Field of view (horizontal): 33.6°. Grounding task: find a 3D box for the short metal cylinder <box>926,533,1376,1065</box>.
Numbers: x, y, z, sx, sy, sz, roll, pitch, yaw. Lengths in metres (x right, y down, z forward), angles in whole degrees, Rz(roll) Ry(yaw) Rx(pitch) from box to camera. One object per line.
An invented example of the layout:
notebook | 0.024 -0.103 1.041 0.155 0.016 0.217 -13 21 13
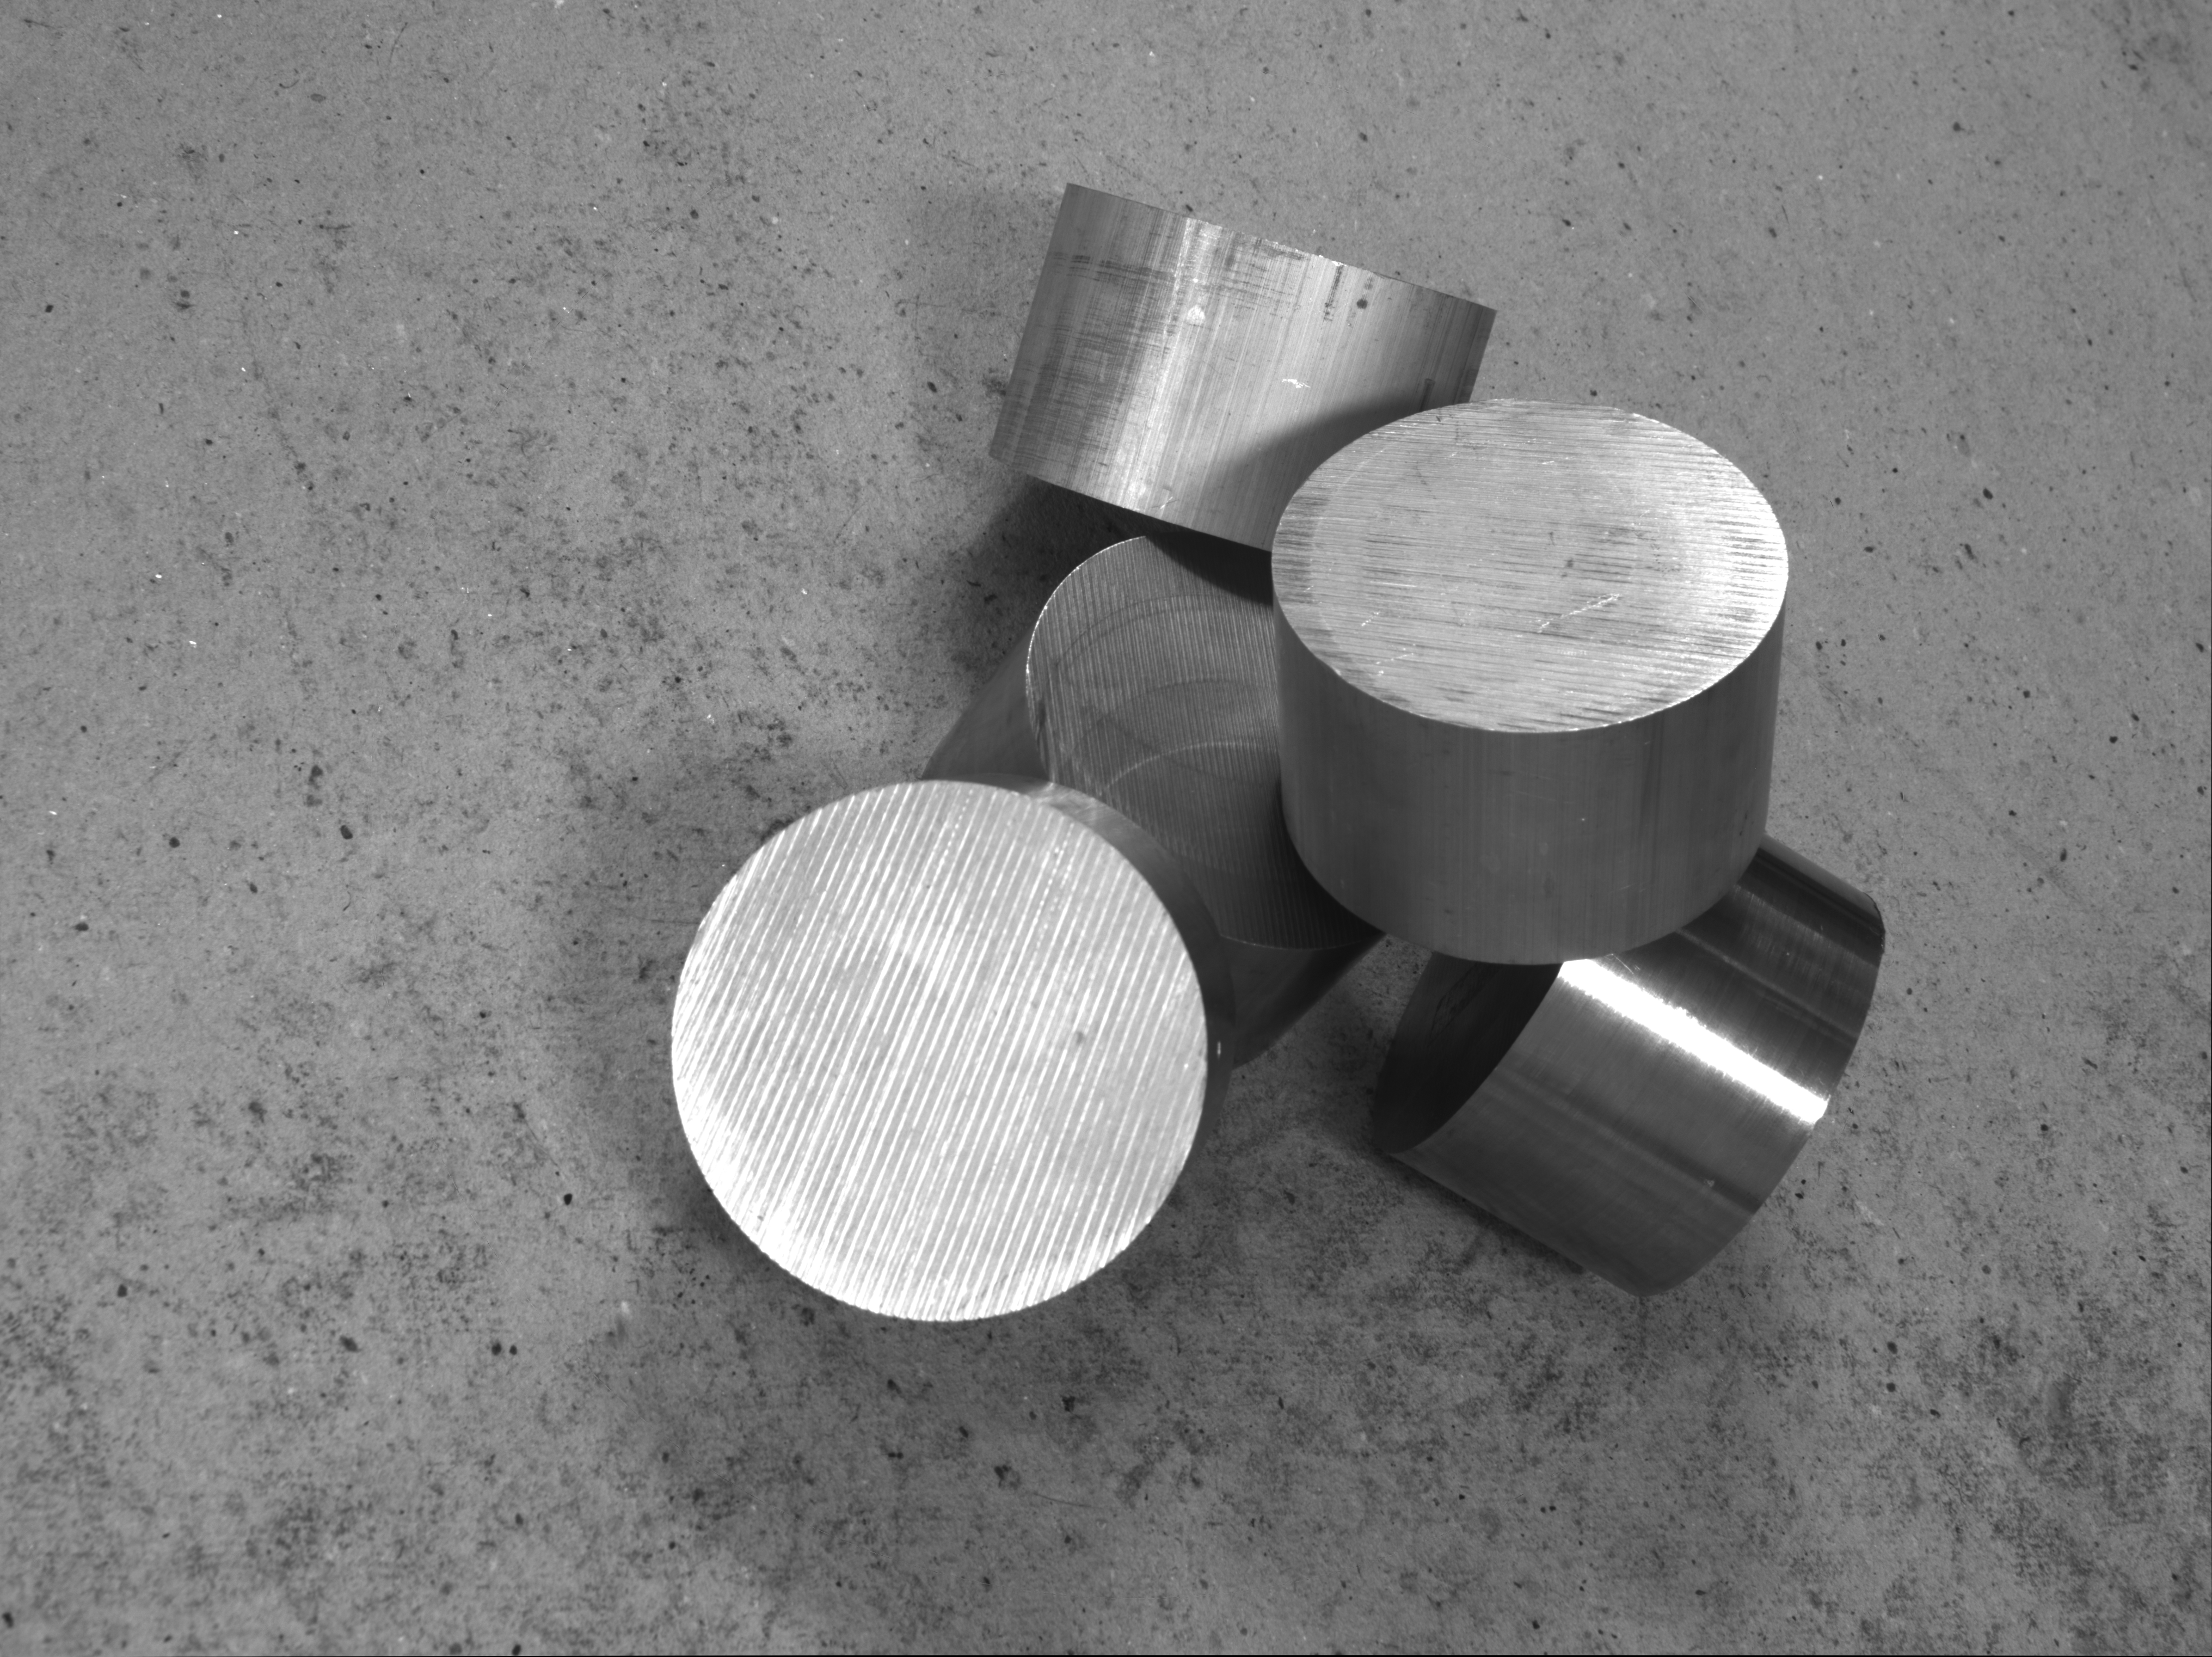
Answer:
short metal cylinder | 0.013 -0.004 0.632 0.080 0.050 0.080 14 55 -21

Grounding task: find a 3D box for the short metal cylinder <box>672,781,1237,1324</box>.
short metal cylinder | -0.022 0.032 0.565 0.080 0.050 0.080 0 91 6

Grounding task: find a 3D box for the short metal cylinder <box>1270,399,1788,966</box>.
short metal cylinder | 0.067 -0.024 0.588 0.080 0.050 0.080 -2 45 3

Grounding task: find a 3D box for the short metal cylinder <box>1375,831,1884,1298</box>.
short metal cylinder | 0.089 0.033 0.631 0.050 0.080 0.080 31 52 -9

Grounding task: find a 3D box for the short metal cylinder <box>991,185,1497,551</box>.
short metal cylinder | 0.024 -0.080 0.657 0.080 0.080 0.050 13 100 -21
